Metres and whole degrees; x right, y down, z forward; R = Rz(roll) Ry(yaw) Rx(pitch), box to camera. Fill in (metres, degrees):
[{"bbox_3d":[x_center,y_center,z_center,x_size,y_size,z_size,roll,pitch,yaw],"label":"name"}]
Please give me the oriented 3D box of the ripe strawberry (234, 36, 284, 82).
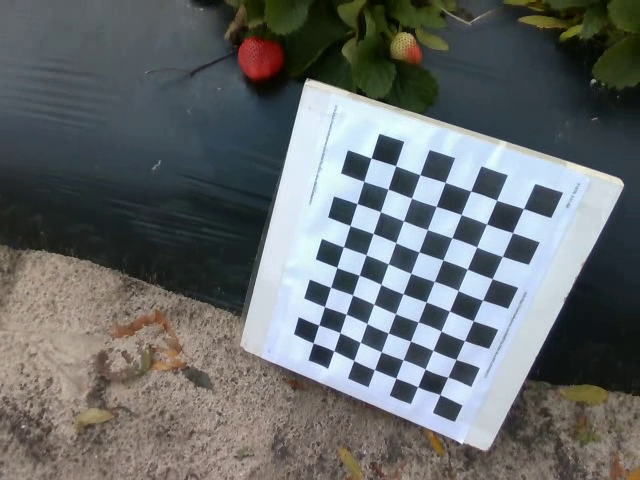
[{"bbox_3d":[-0.051,-0.137,0.438,0.037,0.046,0.036,-23,-40,29],"label":"ripe strawberry"}]
